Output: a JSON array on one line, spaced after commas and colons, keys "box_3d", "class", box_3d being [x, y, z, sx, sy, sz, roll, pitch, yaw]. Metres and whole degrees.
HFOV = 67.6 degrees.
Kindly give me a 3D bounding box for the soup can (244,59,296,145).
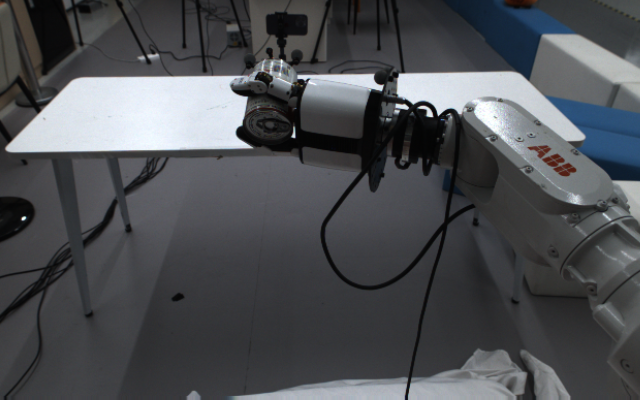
[{"box_3d": [-0.067, -0.137, 0.663, 0.067, 0.067, 0.101, 3, 57, 1], "class": "soup can"}]
